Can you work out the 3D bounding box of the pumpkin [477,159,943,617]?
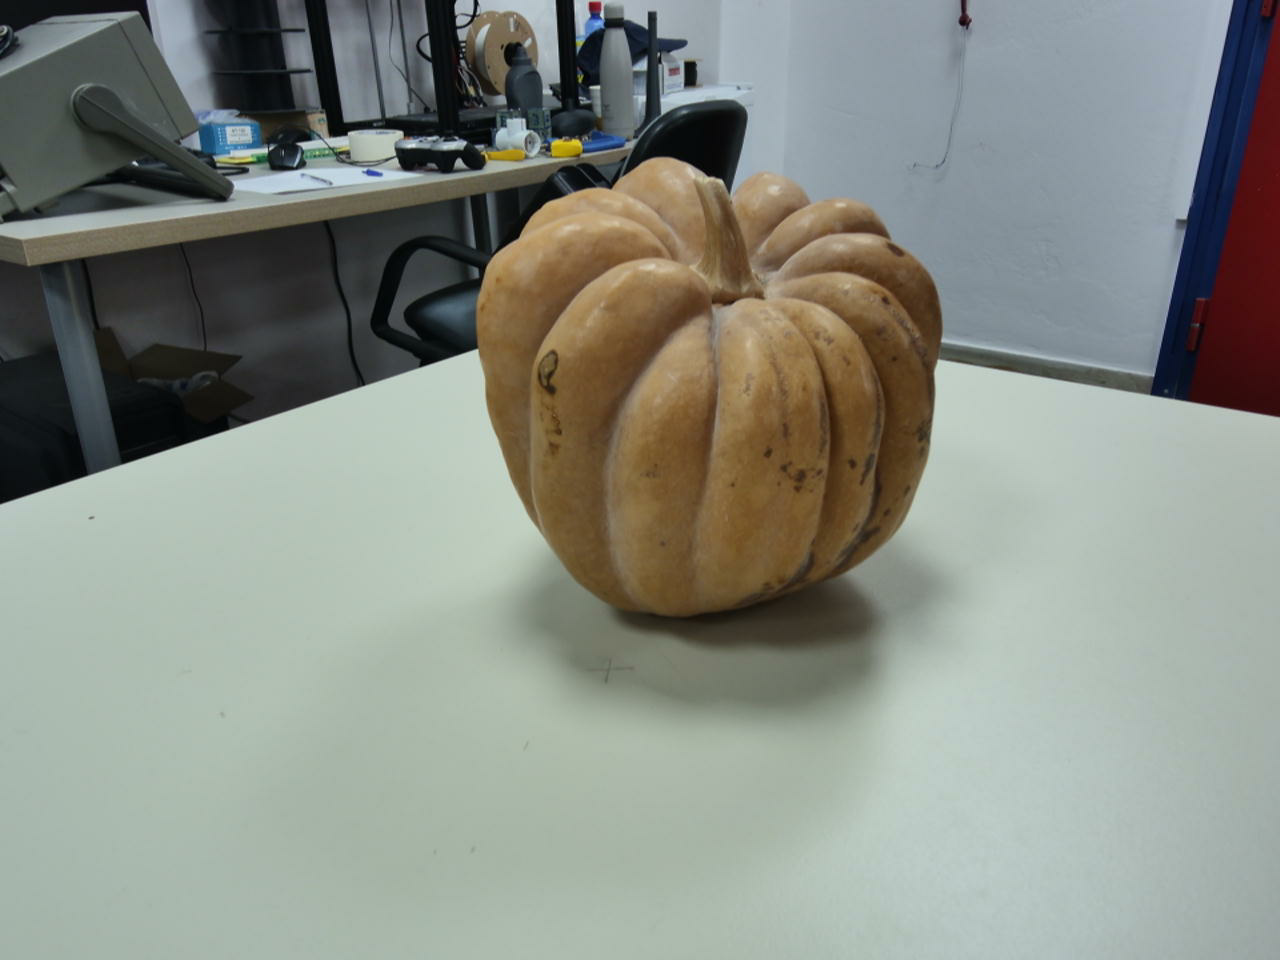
[{"bbox_3d":[0.028,-0.039,0.422,0.199,0.177,0.198,0,23,0],"label":"pumpkin"}]
